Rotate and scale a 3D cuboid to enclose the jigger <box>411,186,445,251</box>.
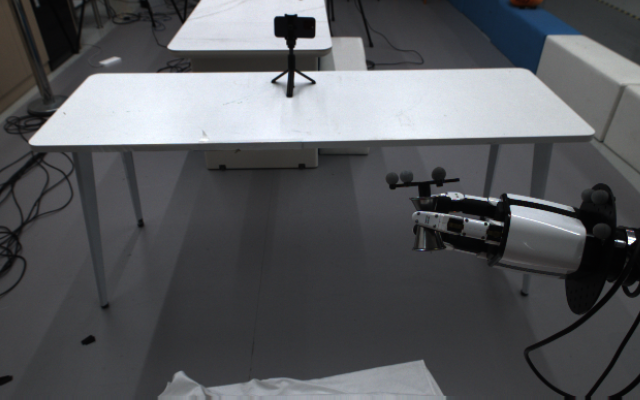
[{"bbox_3d":[0.137,0.028,0.624,0.043,0.071,0.043,-4,1,0],"label":"jigger"}]
